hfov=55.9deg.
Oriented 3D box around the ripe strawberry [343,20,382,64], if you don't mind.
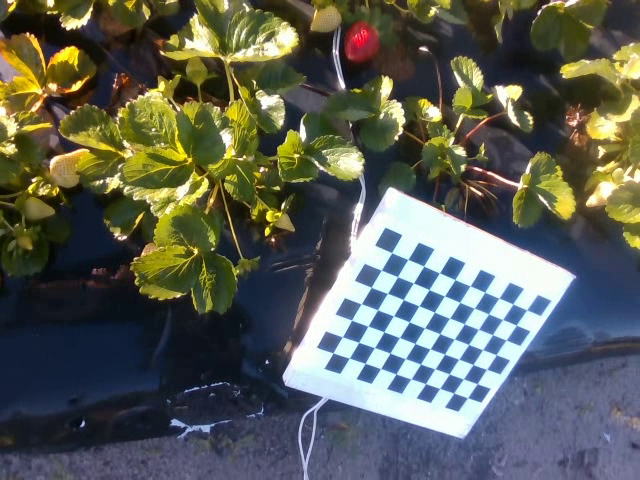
[{"bbox_3d":[0.060,-0.270,0.815,0.040,0.063,0.080,-7,40,42],"label":"ripe strawberry"}]
